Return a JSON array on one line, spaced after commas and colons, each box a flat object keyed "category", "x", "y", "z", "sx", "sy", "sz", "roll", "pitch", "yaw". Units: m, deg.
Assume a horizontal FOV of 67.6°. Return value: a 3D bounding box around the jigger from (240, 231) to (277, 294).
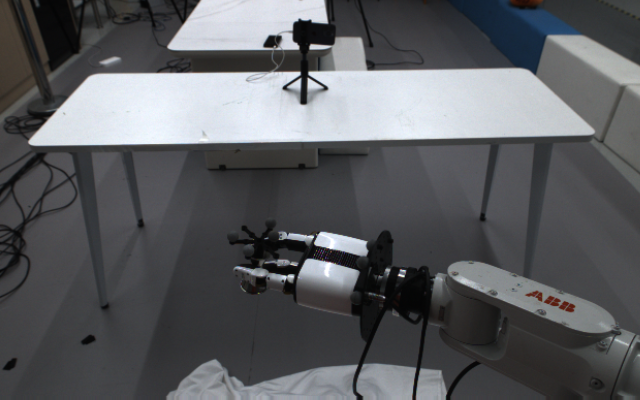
[{"category": "jigger", "x": -0.099, "y": 0.104, "z": 0.744, "sx": 0.043, "sy": 0.071, "sz": 0.043, "roll": 9, "pitch": 31, "yaw": -5}]
